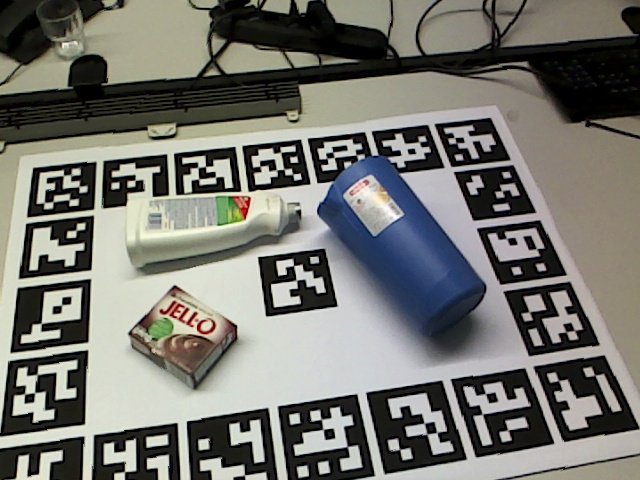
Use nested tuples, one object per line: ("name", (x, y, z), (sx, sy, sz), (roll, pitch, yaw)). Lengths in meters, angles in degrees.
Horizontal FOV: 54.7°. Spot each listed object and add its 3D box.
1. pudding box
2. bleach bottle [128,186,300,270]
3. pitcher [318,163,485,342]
("pudding box", (-0.182, 0.126, 0.825), (0.114, 0.038, 0.090), (32, 54, 18))
("bleach bottle", (-0.153, -0.026, 0.925), (0.250, 0.068, 0.103), (-9, 60, -10))
("pitcher", (0.122, 0.018, 0.879), (0.187, 0.133, 0.244), (-7, 52, -49))
